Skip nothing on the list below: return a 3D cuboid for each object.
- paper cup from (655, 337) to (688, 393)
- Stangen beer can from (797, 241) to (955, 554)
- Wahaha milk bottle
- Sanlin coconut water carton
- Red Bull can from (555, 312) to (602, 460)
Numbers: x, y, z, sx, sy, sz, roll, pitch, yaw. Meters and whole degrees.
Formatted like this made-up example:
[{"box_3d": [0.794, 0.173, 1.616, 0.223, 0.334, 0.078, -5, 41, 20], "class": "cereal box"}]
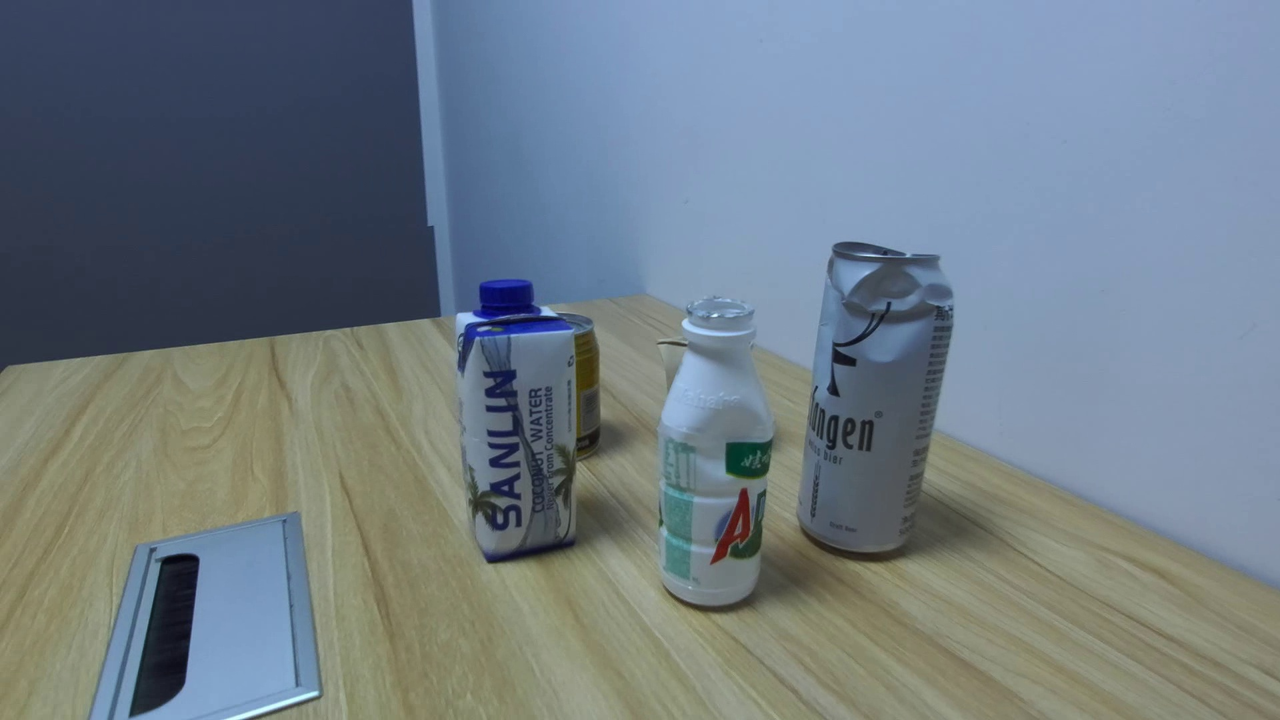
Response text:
[{"box_3d": [0.043, 0.012, 0.534, 0.066, 0.083, 0.058, -14, 15, -17], "class": "paper cup"}, {"box_3d": [0.125, 0.022, 0.387, 0.066, 0.166, 0.066, 3, 19, 5], "class": "Stangen beer can"}, {"box_3d": [0.037, 0.046, 0.340, 0.055, 0.149, 0.055, 2, 21, 0], "class": "Wahaha milk bottle"}, {"box_3d": [-0.067, 0.032, 0.390, 0.061, 0.144, 0.060, -7, 20, -23], "class": "Sanlin coconut water carton"}, {"box_3d": [-0.061, 0.019, 0.503, 0.067, 0.093, 0.067, -1, 18, 1], "class": "Red Bull can"}]
